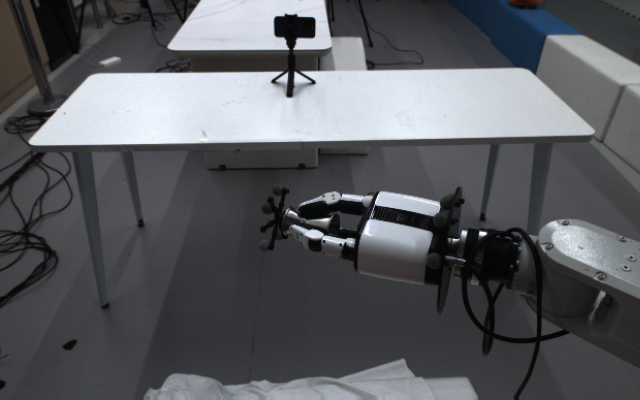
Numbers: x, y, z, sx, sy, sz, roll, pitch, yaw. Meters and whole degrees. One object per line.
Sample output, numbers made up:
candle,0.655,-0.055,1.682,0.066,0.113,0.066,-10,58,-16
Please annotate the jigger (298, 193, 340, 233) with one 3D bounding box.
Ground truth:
jigger,-0.006,0.032,0.658,0.071,0.043,0.043,10,35,22
